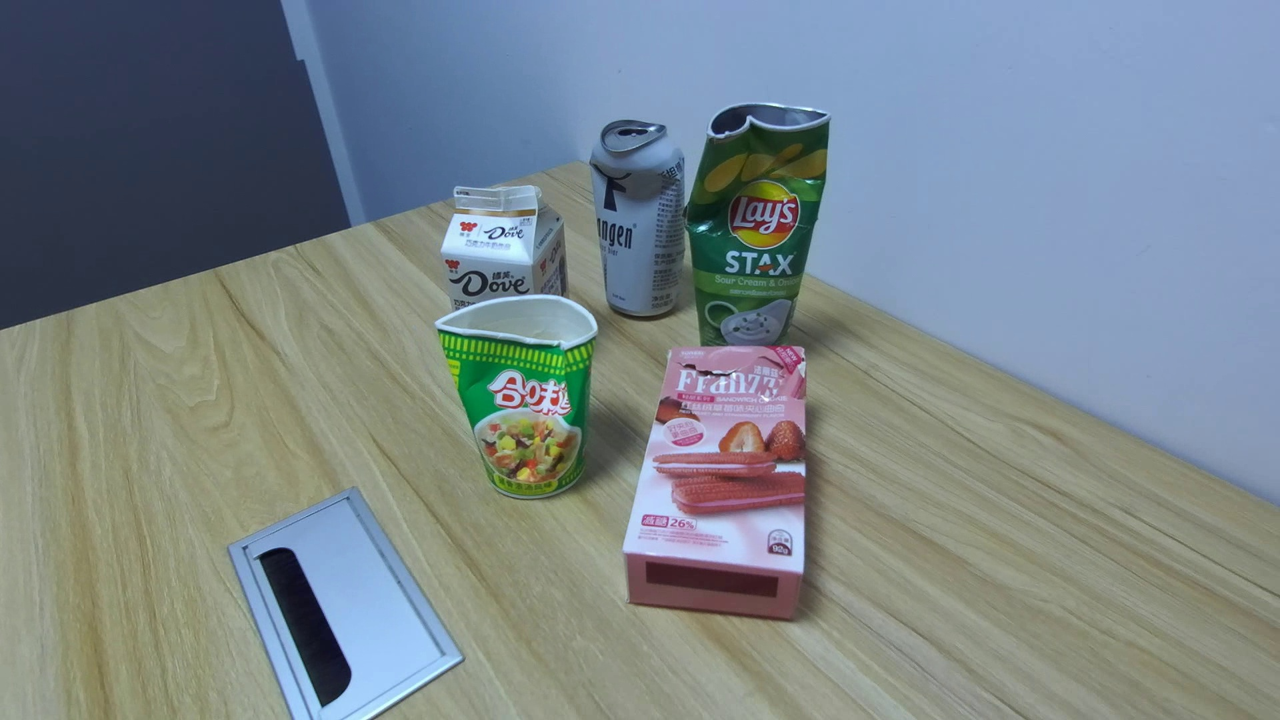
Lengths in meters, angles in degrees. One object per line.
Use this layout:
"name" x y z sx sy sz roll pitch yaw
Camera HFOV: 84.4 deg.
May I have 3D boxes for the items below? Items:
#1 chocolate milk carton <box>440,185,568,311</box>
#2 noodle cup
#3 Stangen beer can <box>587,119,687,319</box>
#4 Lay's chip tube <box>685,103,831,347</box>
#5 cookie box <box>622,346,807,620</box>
"chocolate milk carton" -0.102 -0.068 0.551 0.075 0.148 0.074 7 37 12
"noodle cup" -0.070 0.026 0.456 0.082 0.122 0.075 20 33 40
"Stangen beer can" -0.001 -0.116 0.599 0.077 0.162 0.065 -3 37 -1
"Lay's chip tube" 0.081 -0.082 0.518 0.077 0.201 0.069 -25 42 -26
"cookie box" 0.052 0.068 0.444 0.105 0.059 0.186 2 40 11
